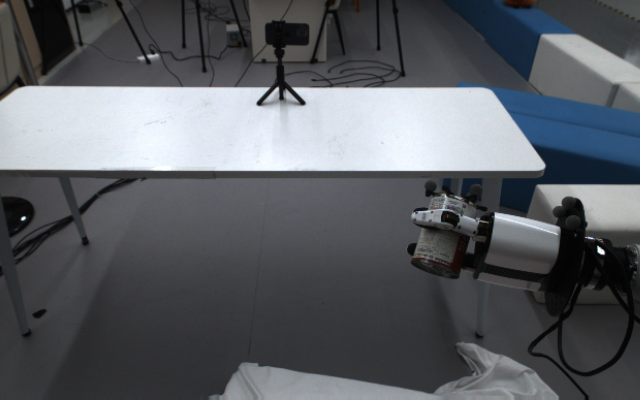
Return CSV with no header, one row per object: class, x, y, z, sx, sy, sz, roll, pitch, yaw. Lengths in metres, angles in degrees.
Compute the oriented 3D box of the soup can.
soup can,0.176,0.048,0.675,0.067,0.067,0.101,15,75,18
